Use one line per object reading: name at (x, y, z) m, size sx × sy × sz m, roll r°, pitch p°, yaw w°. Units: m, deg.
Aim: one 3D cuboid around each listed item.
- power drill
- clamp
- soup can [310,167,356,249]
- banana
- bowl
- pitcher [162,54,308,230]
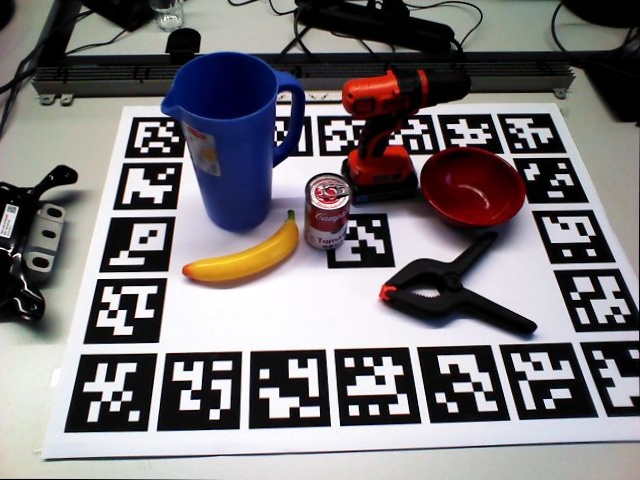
power drill at (0.132, -0.166, 0.758) m, size 0.184 × 0.188 × 0.057 m, roll -6°, pitch 56°, yaw -6°
clamp at (0.194, 0.059, 0.712) m, size 0.203 × 0.037 × 0.164 m, roll -5°, pitch 60°, yaw -4°
soup can at (0.019, -0.045, 0.749) m, size 0.068 × 0.102 × 0.067 m, roll 0°, pitch 48°, yaw 0°
banana at (-0.102, 0.020, 0.743) m, size 0.197 × 0.039 × 0.074 m, roll -24°, pitch 51°, yaw -18°
bowl at (0.243, -0.075, 0.800) m, size 0.162 × 0.055 × 0.160 m, roll 0°, pitch 57°, yaw -1°
pitcher at (-0.104, -0.131, 0.719) m, size 0.188 × 0.243 × 0.133 m, roll -23°, pitch 56°, yaw -16°
